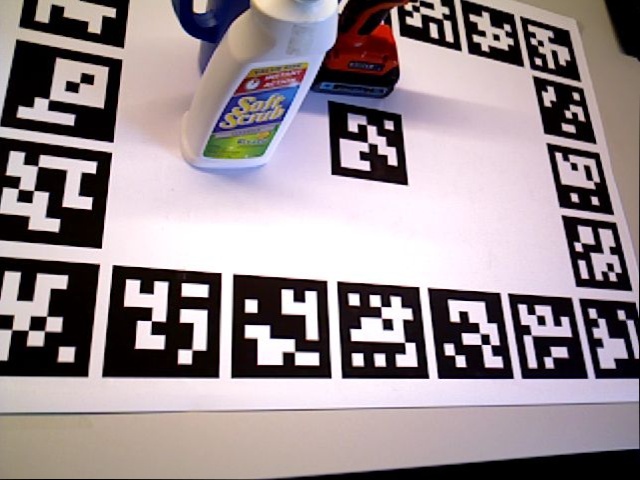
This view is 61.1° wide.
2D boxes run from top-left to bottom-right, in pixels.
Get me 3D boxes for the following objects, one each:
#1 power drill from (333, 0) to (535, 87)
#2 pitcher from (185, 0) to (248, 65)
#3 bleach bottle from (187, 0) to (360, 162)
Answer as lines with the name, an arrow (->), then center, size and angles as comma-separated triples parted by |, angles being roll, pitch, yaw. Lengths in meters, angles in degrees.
power drill -> 0.108, -0.237, 0.574 | 0.182, 0.191, 0.057 | 2, 73, -27
pitcher -> -0.043, -0.239, 0.503 | 0.185, 0.247, 0.133 | -23, 82, -27
bleach bottle -> -0.042, -0.150, 0.450 | 0.101, 0.256, 0.067 | -3, 72, -22
